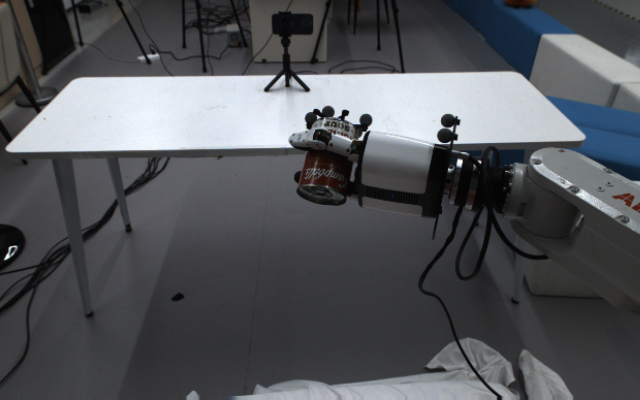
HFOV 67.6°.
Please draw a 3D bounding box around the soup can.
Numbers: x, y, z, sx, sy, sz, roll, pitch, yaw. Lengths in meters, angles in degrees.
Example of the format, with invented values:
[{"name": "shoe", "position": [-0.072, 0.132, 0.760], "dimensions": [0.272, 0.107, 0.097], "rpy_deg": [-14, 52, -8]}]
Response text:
[{"name": "soup can", "position": [0.013, -0.051, 0.650], "dimensions": [0.067, 0.067, 0.101], "rpy_deg": [9, 71, 9]}]
